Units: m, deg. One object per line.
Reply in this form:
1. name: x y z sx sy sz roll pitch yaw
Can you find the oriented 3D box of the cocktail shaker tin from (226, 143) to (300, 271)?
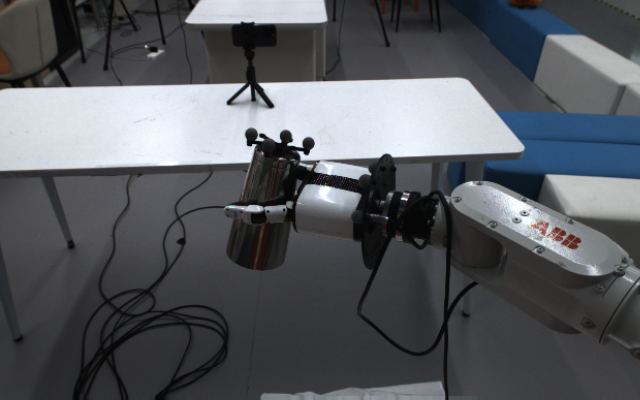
1. cocktail shaker tin: -0.077 0.005 0.709 0.093 0.170 0.093 12 24 -5
